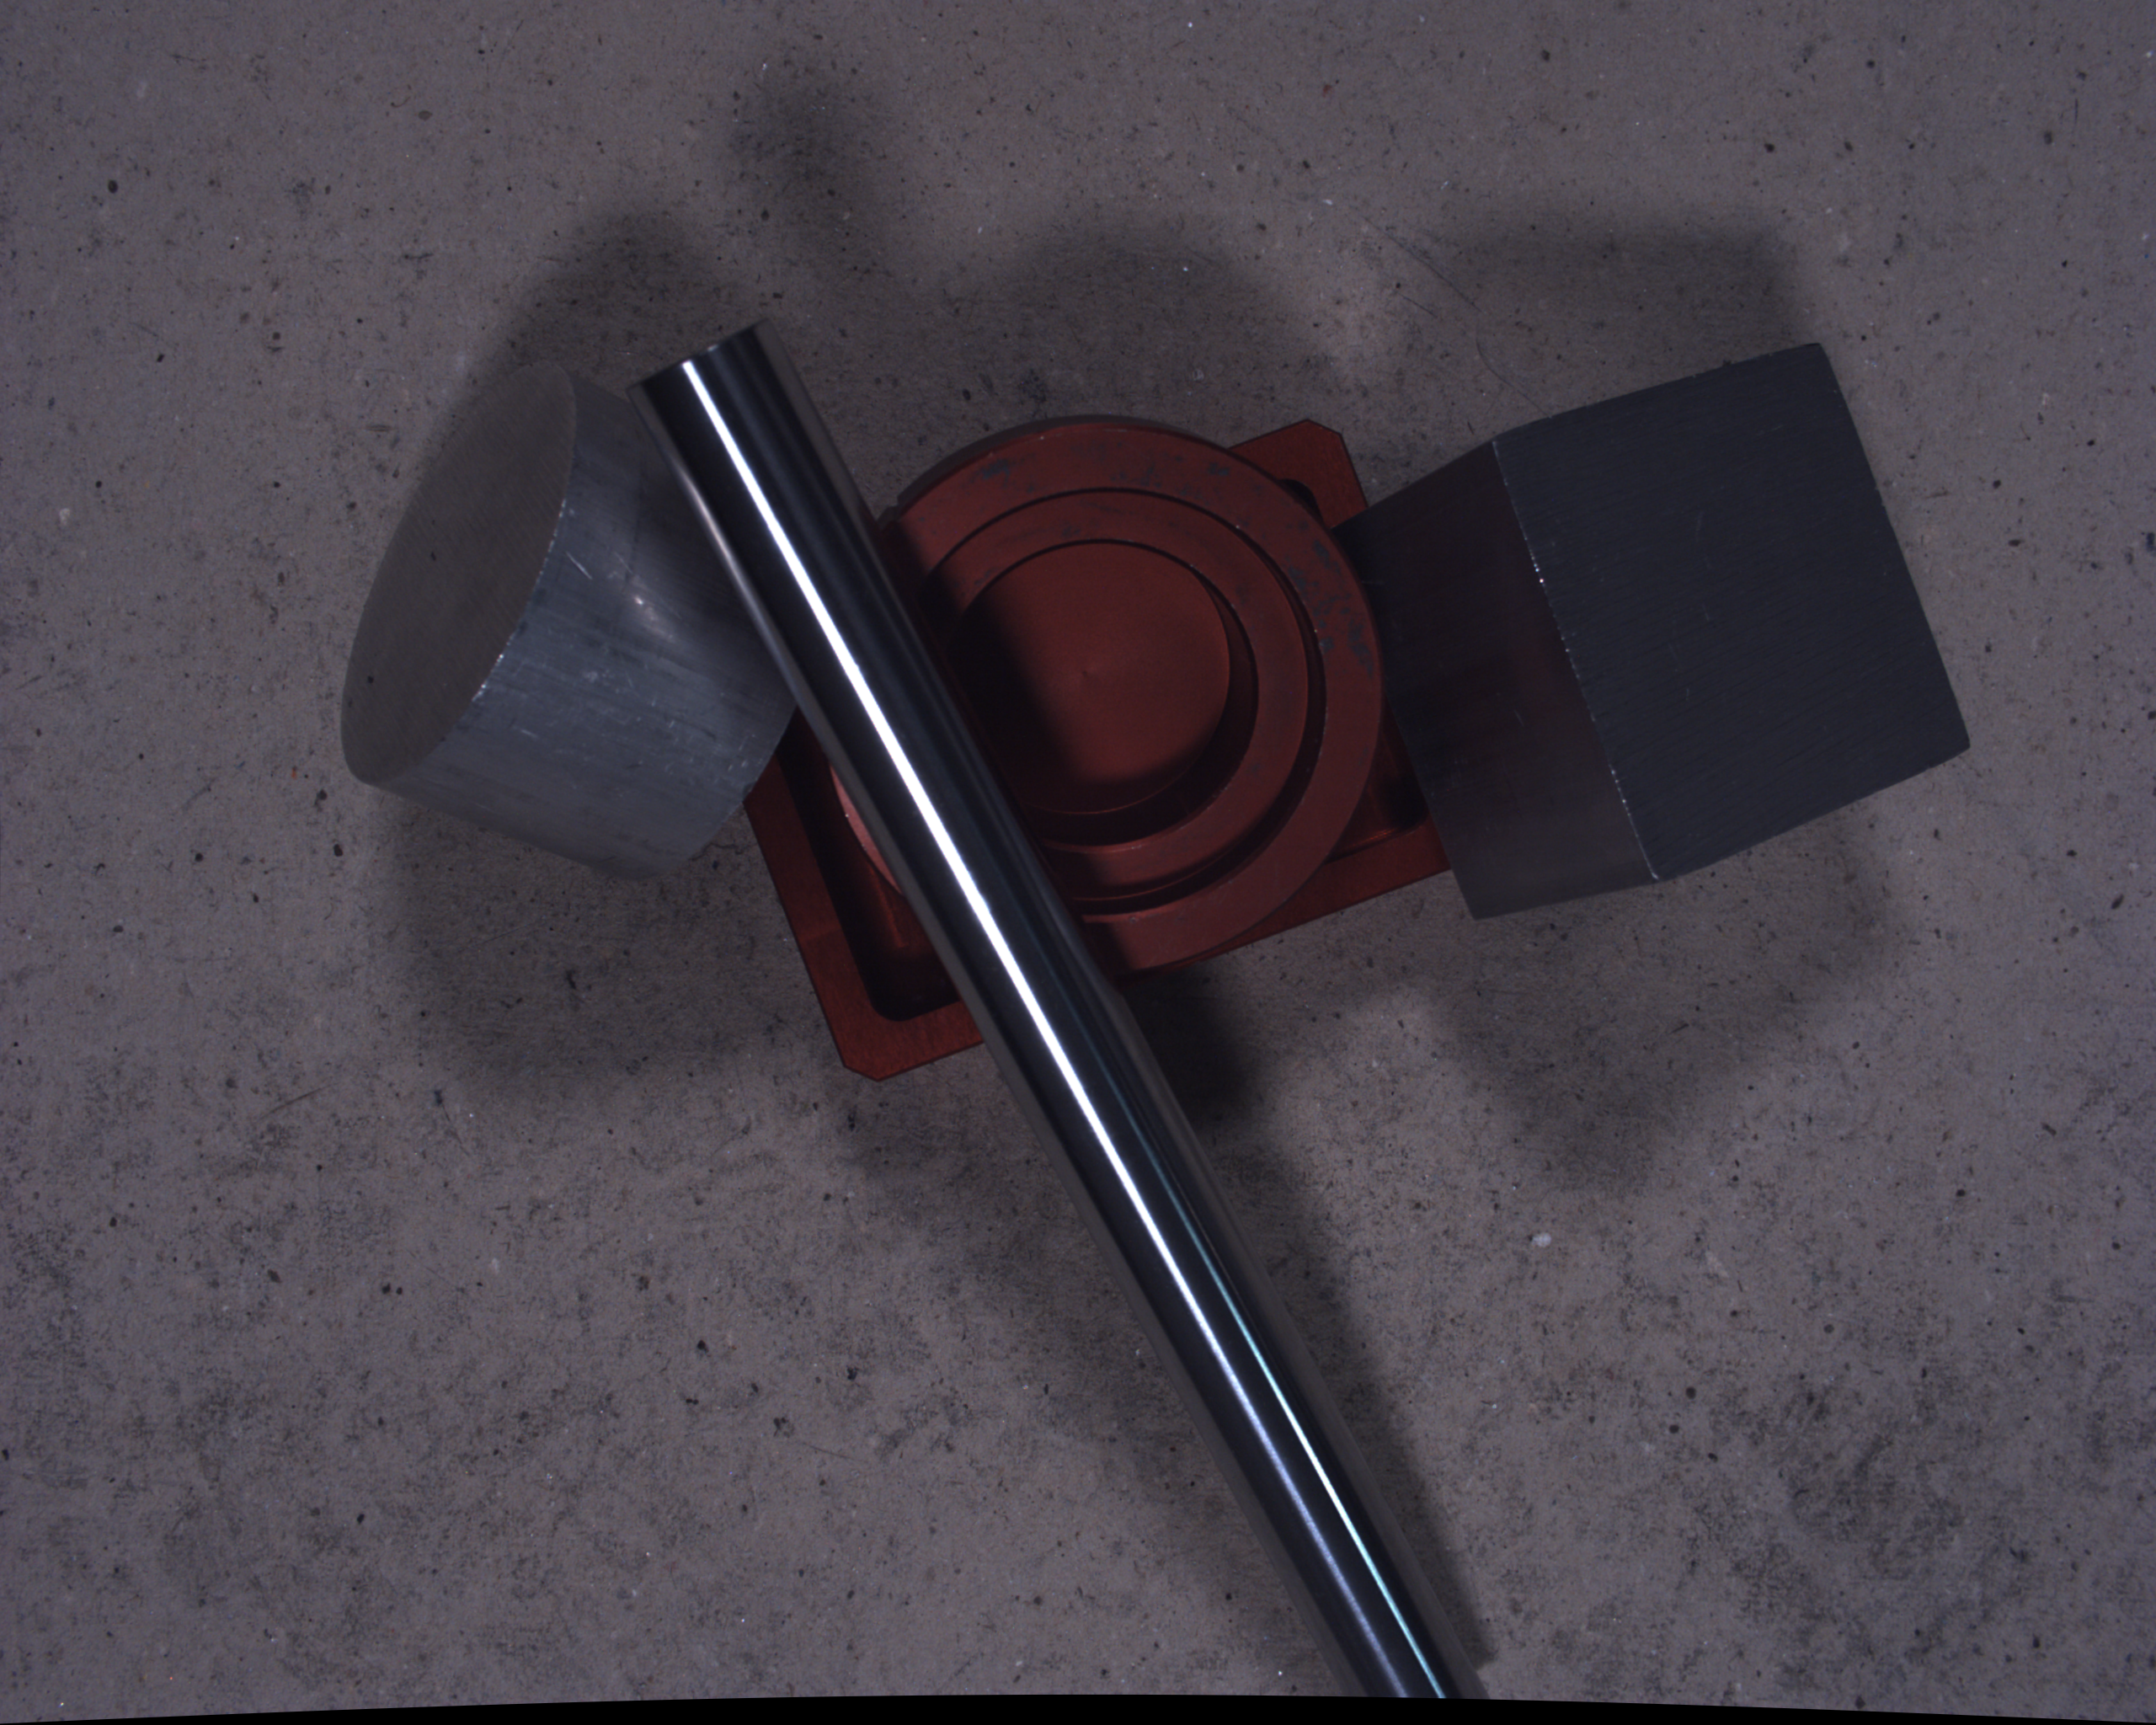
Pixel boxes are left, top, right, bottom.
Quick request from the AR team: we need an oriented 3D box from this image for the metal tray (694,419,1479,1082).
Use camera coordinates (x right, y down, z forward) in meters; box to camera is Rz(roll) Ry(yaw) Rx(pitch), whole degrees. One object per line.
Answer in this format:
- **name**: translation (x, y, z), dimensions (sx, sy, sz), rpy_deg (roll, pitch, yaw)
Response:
- **metal tray**: translation (0.003, -0.021, 0.409), dimensions (0.131, 0.030, 0.090), rpy_deg (-21, 90, -1)

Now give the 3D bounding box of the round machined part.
- **round machined part**: translation (0.003, -0.032, 0.379), dimensions (0.099, 0.042, 0.097), rpy_deg (-1, 105, -5)

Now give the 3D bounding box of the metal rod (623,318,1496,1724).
- **metal rod**: translation (0.006, 0.048, 0.367), dimensions (0.025, 0.025, 0.299), rpy_deg (-27, 107, 0)

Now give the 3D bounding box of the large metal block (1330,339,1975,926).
- **large metal block**: translation (0.105, -0.042, 0.383), dimensions (0.081, 0.050, 0.080), rpy_deg (-20, 90, -26)

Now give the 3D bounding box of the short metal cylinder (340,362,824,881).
- **short metal cylinder**: translation (-0.090, -0.042, 0.376), dimensions (0.050, 0.080, 0.080), rpy_deg (24, 90, -36)
